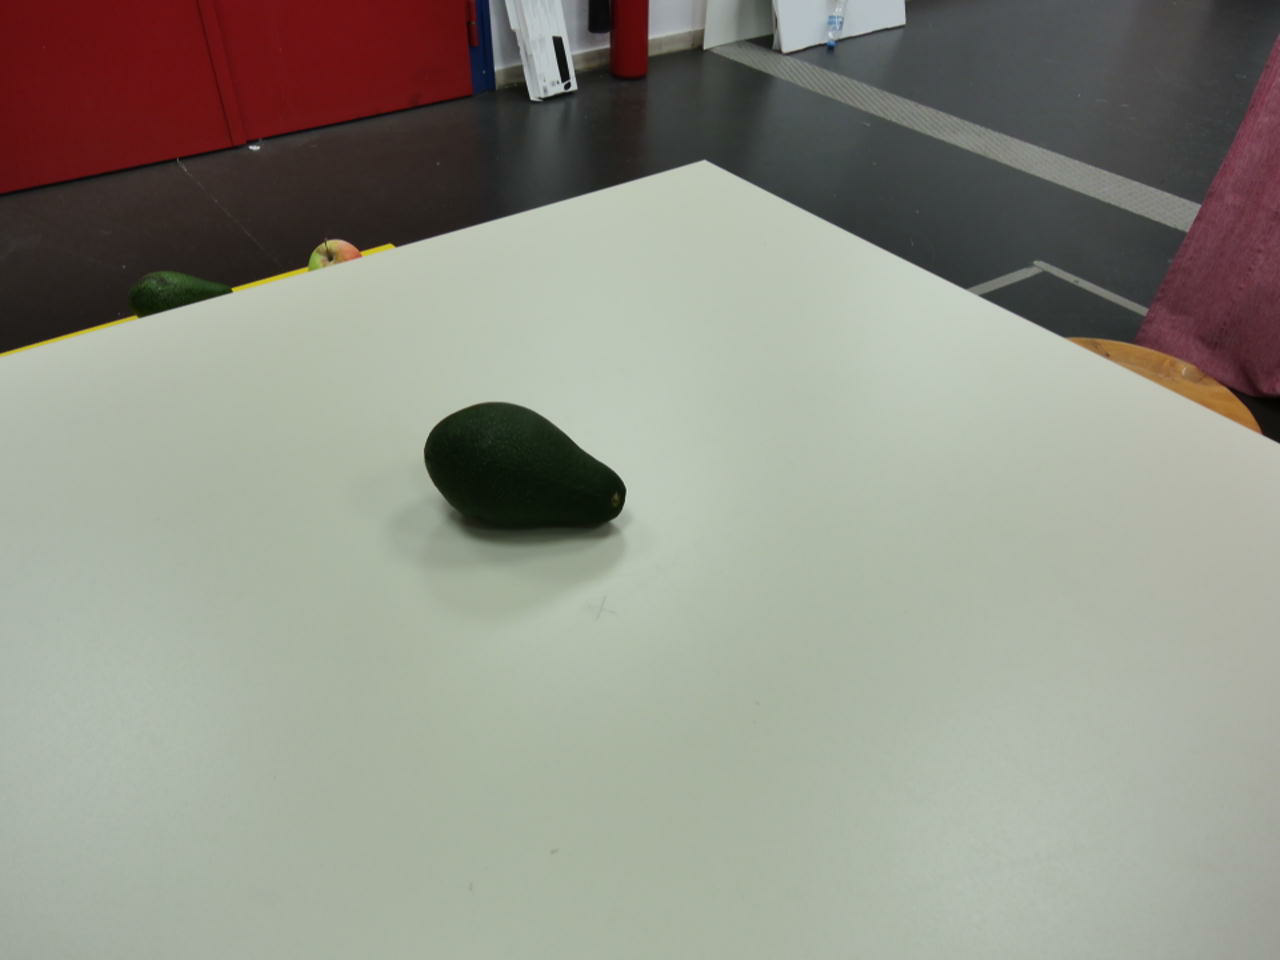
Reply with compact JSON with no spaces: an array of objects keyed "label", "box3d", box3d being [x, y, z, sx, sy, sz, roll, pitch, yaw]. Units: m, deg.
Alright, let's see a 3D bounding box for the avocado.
[{"label":"avocado","box3d":[-0.067,-0.005,0.566,0.110,0.071,0.072,21,42,23]}]
